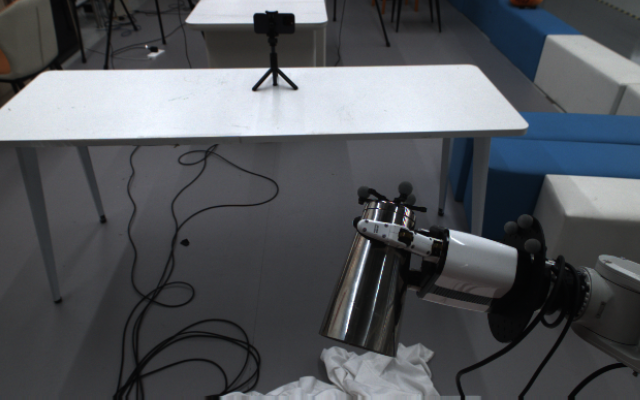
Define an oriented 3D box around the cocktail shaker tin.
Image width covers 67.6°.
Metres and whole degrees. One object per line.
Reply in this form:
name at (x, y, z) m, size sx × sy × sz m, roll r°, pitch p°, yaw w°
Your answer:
cocktail shaker tin at (0.067, 0.089, 0.585) m, size 0.093 × 0.093 × 0.170 m, roll 12°, pitch 72°, yaw 14°
